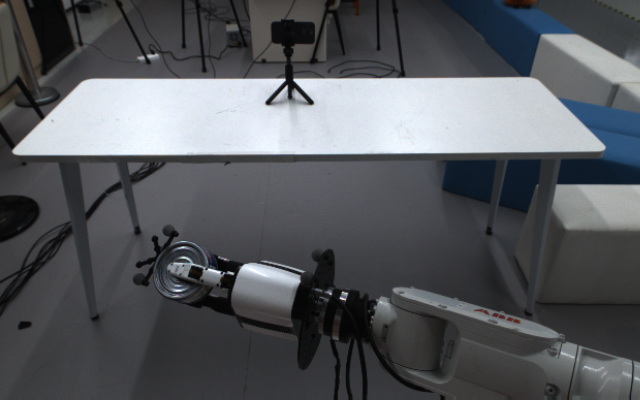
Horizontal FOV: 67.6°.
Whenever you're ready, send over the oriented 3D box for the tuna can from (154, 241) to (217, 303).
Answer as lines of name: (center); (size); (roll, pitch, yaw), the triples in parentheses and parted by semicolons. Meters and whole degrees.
tuna can: (-0.188, 0.101, 0.682); (0.085, 0.034, 0.085); (-3, 70, 10)
